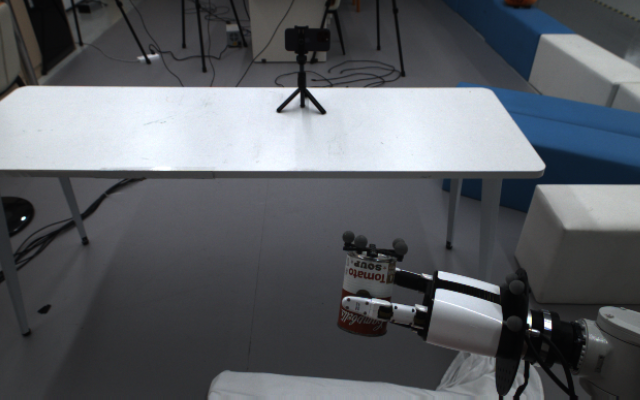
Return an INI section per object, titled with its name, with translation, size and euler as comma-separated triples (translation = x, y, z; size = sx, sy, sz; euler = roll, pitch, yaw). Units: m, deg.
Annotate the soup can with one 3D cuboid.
[soup can]
translation = 0.065, 0.120, 0.646
size = 0.067, 0.101, 0.067
euler = 7, 4, 0
